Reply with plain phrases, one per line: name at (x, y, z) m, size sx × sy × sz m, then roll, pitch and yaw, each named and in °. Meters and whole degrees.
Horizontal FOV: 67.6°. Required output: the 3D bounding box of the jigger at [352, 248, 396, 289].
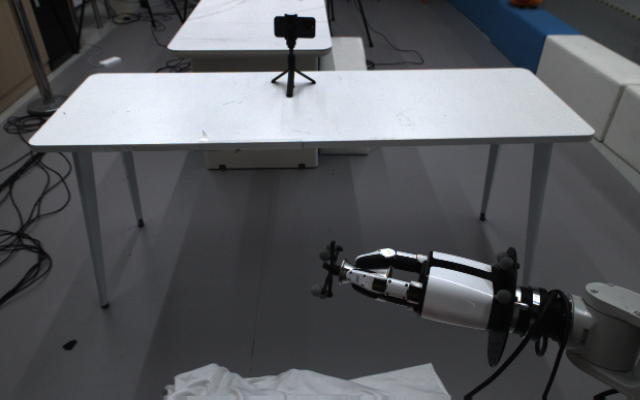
jigger at (0.071, 0.104, 0.686) m, size 0.071 × 0.043 × 0.043 m, roll 8°, pitch 35°, yaw 16°
